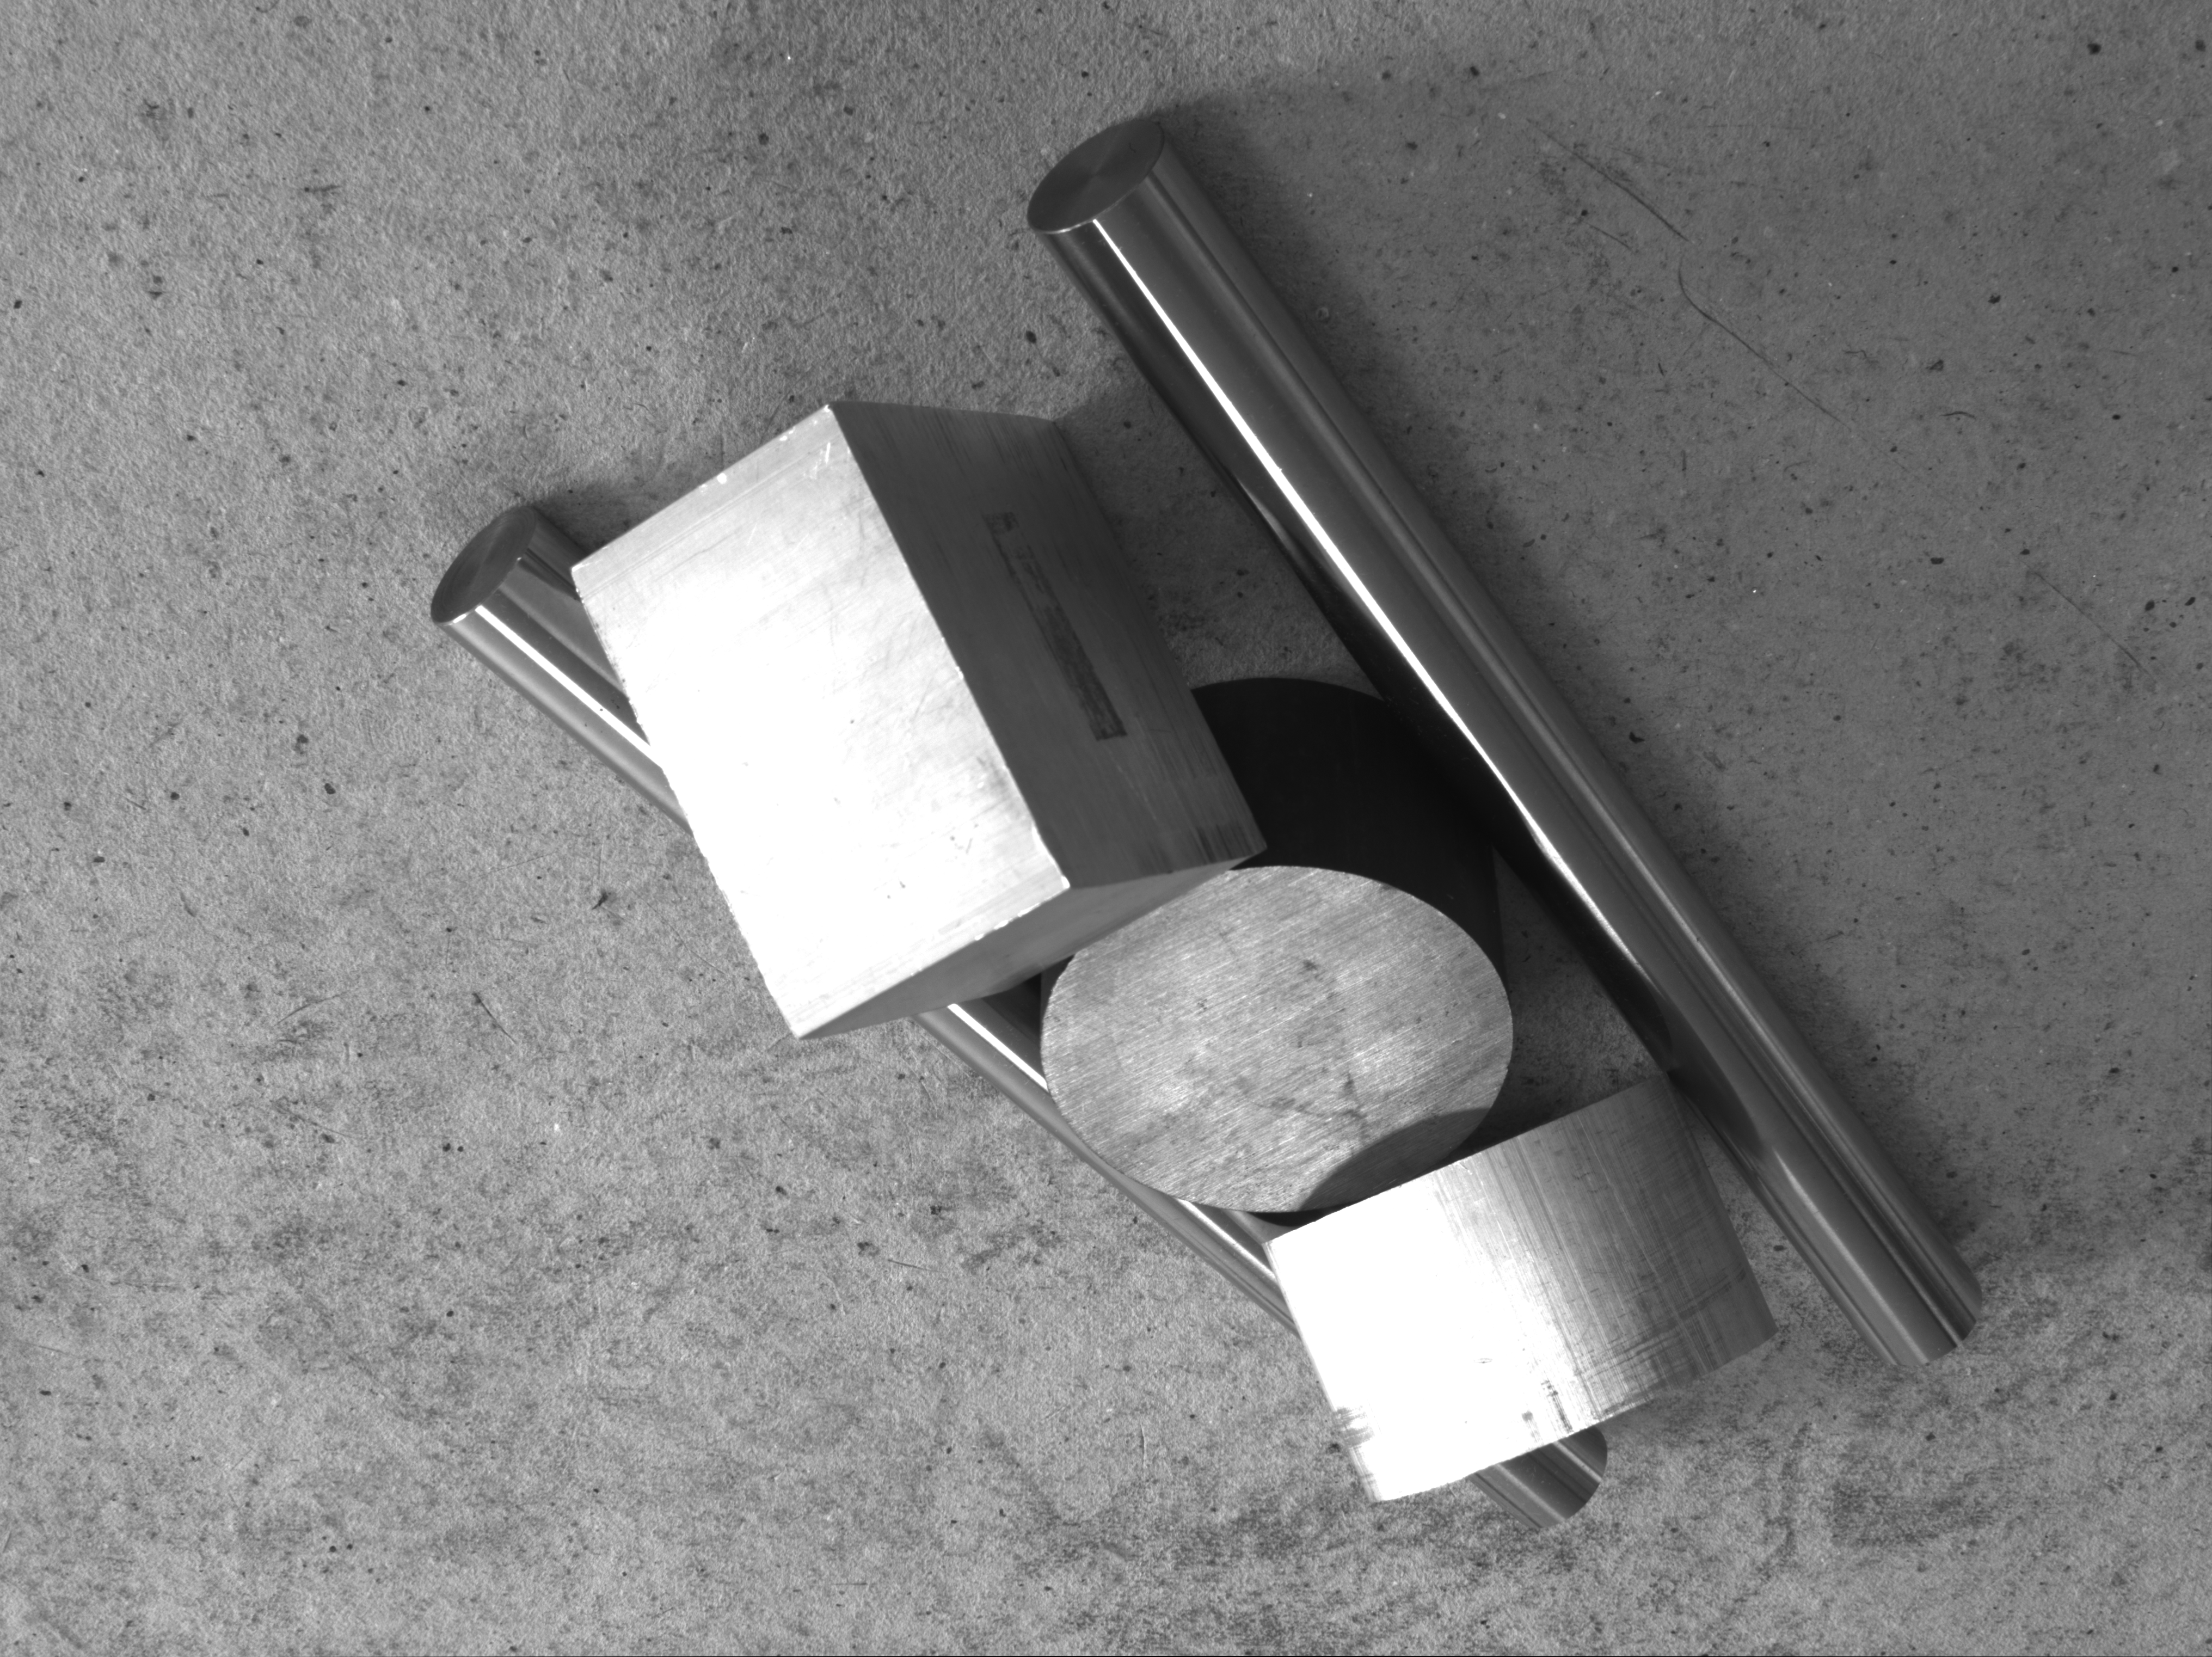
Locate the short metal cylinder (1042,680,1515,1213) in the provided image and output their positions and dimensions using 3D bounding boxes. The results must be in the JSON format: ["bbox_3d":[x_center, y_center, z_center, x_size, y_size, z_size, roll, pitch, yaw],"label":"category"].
[{"bbox_3d":[0.029,0.021,0.641,0.080,0.050,0.080,0,130,0],"label":"short metal cylinder"}]

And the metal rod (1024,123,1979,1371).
[{"bbox_3d":[0.079,-0.001,0.638,0.025,0.025,0.301,-26,125,20],"label":"metal rod"}]

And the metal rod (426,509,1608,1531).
[{"bbox_3d":[-0.005,0.045,0.677,0.025,0.025,0.301,-33,123,25],"label":"metal rod"}]

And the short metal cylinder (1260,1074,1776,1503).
[{"bbox_3d":[0.075,0.083,0.666,0.080,0.080,0.050,-25,83,20],"label":"short metal cylinder"}]

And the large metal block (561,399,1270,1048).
[{"bbox_3d":[-0.027,-0.017,0.569,0.050,0.080,0.080,-30,82,22],"label":"large metal block"}]
